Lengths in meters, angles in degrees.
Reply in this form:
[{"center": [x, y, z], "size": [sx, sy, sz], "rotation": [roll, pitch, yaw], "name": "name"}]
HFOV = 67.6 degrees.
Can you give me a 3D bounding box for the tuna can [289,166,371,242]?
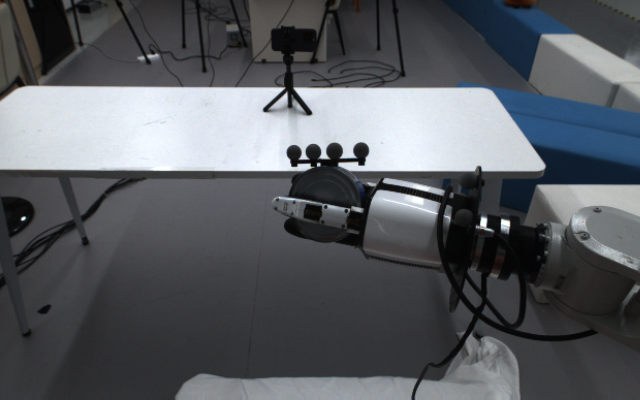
[{"center": [0.011, 0.003, 0.551], "size": [0.085, 0.085, 0.034], "rotation": [15, 10, 18], "name": "tuna can"}]
